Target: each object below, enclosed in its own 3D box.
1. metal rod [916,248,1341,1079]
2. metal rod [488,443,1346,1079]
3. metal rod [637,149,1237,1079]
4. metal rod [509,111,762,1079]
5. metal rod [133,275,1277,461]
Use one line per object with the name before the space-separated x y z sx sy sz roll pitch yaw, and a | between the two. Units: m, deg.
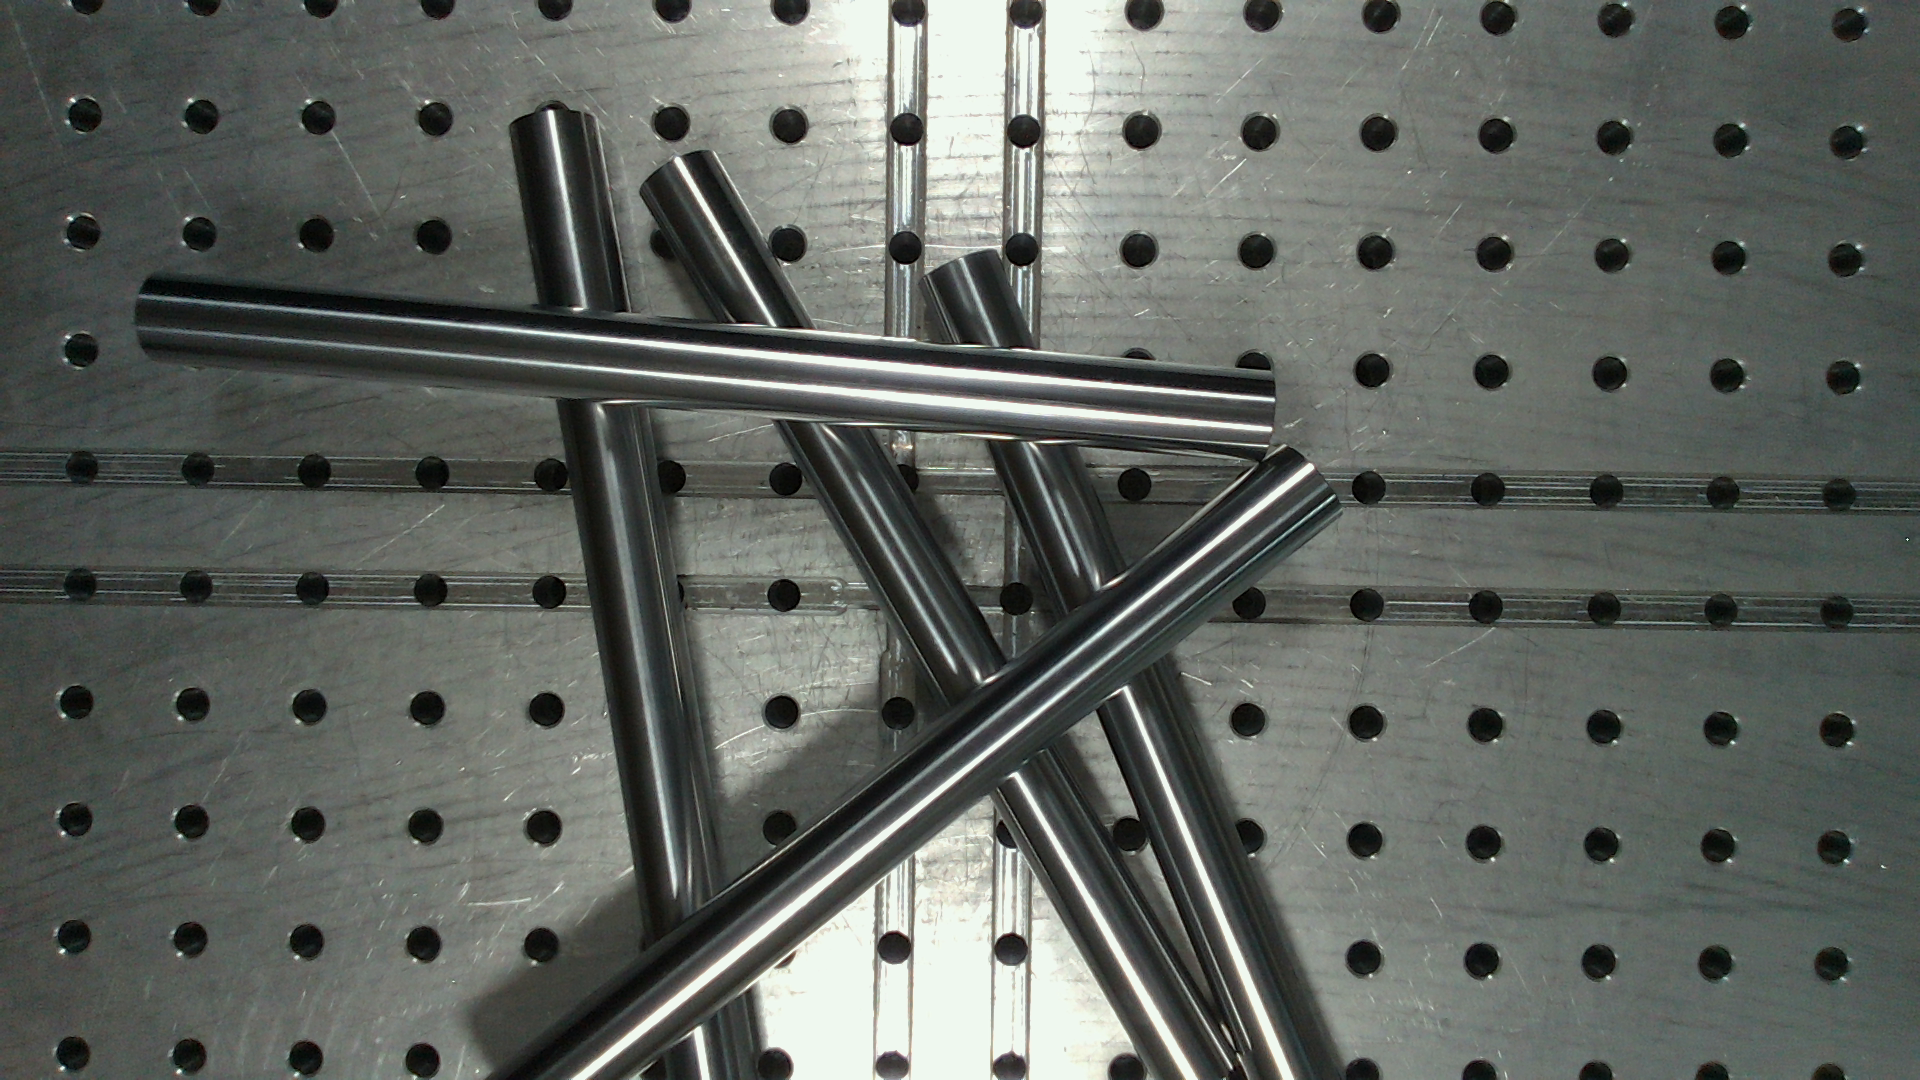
metal rod | 0.057 0.059 0.398 0.025 0.025 0.300 -23 90 0
metal rod | -0.021 0.077 0.373 0.300 0.025 0.025 -39 90 0
metal rod | -0.006 0.024 0.397 0.025 0.025 0.300 -30 90 0
metal rod | -0.092 0.029 0.397 0.025 0.025 0.300 -10 90 0
metal rod | -0.067 -0.046 0.372 0.300 0.025 0.025 5 90 0
